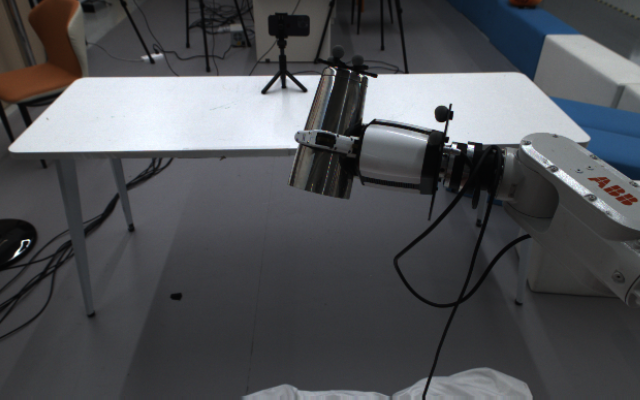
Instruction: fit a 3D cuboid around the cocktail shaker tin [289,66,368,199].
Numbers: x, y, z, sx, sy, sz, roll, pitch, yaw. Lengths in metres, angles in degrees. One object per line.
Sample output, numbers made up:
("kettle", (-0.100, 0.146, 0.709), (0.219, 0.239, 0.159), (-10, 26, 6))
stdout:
("cocktail shaker tin", (0.018, -0.095, 0.685), (0.093, 0.170, 0.093), (13, 4, -1))
